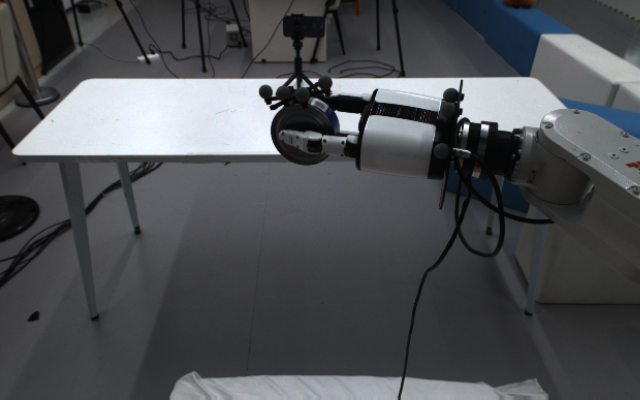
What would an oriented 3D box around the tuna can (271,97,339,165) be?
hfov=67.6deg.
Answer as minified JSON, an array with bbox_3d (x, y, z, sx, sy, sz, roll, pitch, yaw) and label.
[{"bbox_3d":[-0.016,-0.086,0.626,0.085,0.085,0.034,10,33,11],"label":"tuna can"}]
